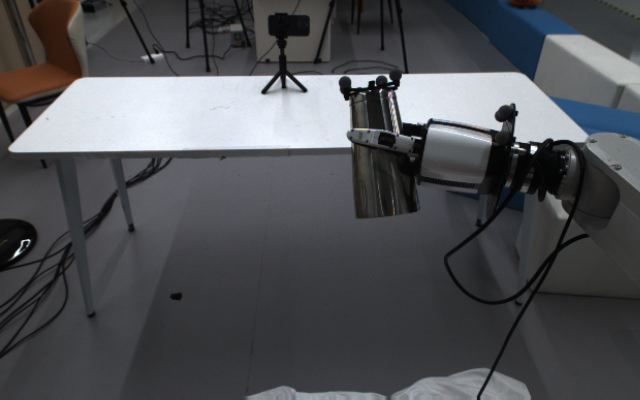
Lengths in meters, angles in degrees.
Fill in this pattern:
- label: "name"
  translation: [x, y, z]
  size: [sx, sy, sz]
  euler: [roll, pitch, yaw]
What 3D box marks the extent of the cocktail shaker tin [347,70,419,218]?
- label: "cocktail shaker tin"
  translation: [0.084, -0.064, 0.682]
  size: [0.093, 0.170, 0.093]
  euler: [-8, 1, 0]
